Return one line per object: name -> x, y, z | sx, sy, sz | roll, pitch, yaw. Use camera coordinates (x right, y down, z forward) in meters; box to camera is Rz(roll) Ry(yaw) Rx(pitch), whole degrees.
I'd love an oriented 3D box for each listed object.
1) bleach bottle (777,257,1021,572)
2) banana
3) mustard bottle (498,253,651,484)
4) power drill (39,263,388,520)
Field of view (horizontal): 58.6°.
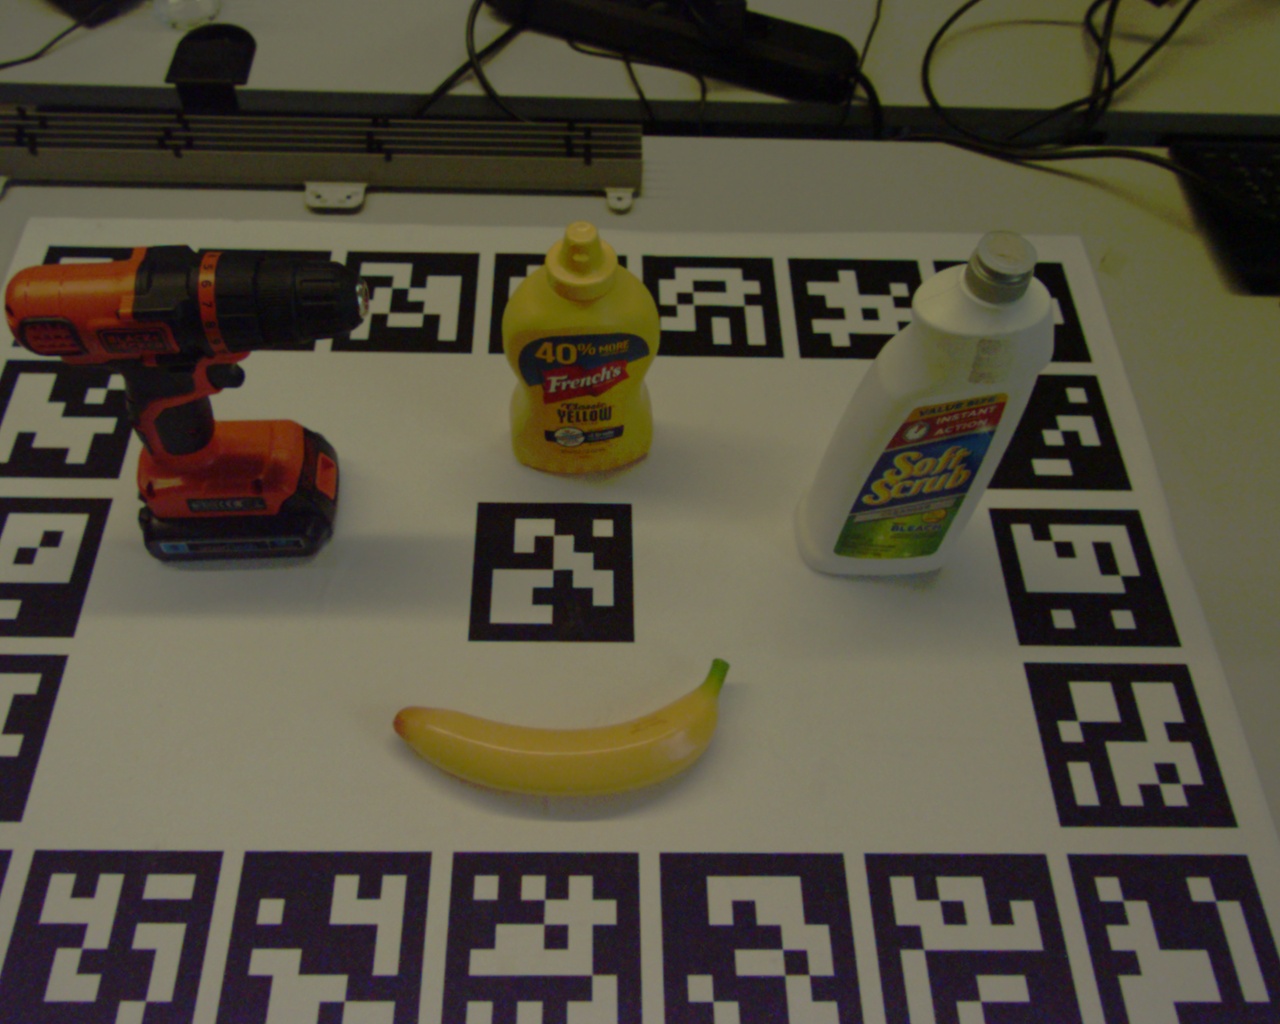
bleach bottle -> 0.152, -0.053, 0.676 | 0.103, 0.250, 0.068 | 8, 58, 1
banana -> -0.044, 0.124, 0.672 | 0.197, 0.039, 0.074 | -5, 60, -2
mustard bottle -> -0.042, -0.092, 0.731 | 0.096, 0.191, 0.059 | -5, 59, -9
power drill -> -0.228, -0.070, 0.673 | 0.184, 0.186, 0.057 | -6, 59, -2
